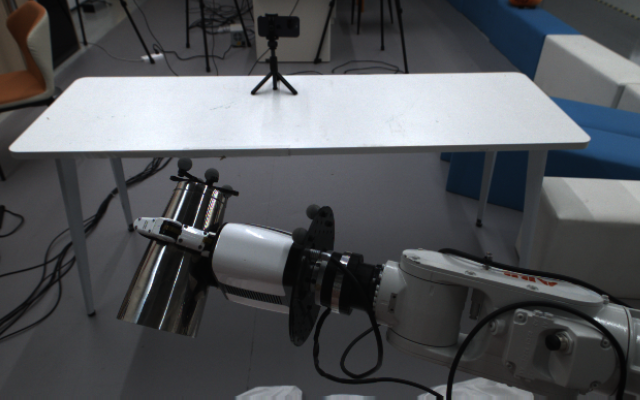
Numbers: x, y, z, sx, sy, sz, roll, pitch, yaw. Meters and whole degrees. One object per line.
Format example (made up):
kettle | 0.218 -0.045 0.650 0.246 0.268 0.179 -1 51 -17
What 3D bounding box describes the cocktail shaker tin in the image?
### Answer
cocktail shaker tin | -0.165 0.069 0.575 0.093 0.093 0.170 10 71 11
